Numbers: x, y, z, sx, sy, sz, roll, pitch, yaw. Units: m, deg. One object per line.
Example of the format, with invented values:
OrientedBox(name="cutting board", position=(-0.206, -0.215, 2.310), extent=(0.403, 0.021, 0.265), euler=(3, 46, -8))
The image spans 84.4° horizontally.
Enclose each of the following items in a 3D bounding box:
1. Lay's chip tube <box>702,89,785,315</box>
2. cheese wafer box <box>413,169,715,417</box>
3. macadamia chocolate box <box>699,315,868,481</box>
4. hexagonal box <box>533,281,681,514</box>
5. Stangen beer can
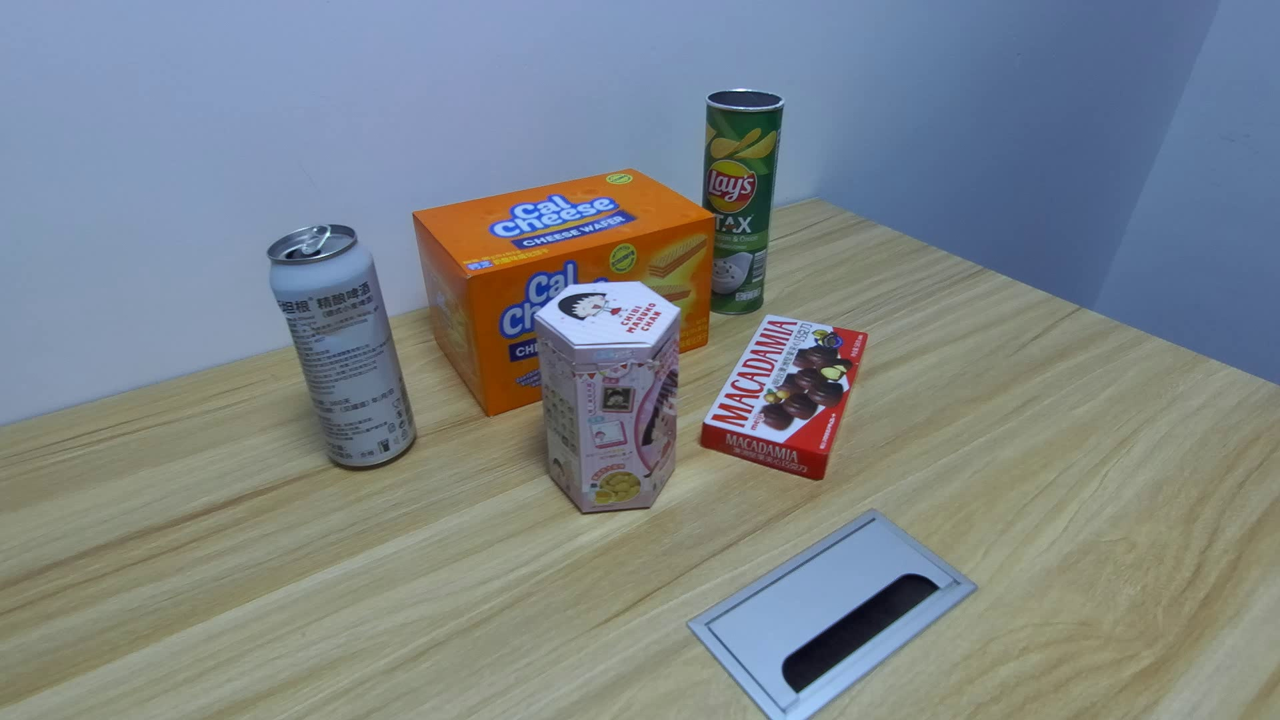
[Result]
OrientedBox(name="Lay's chip tube", position=(0.093, -0.146, 0.672), extent=(0.071, 0.203, 0.071), euler=(0, 34, 1))
OrientedBox(name="cheese wafer box", position=(-0.064, -0.071, 0.631), extent=(0.222, 0.129, 0.147), euler=(-18, 38, -25))
OrientedBox(name="macadamia chocolate box", position=(0.123, 0.022, 0.577), extent=(0.095, 0.027, 0.178), euler=(14, 36, 20))
OrientedBox(name="hexagonal box", position=(-0.018, 0.026, 0.473), extent=(0.083, 0.136, 0.091), euler=(13, 35, 19))
OrientedBox(name="Stangen beer can", position=(-0.207, -0.007, 0.492), extent=(0.069, 0.173, 0.070), euler=(25, 41, 35))
